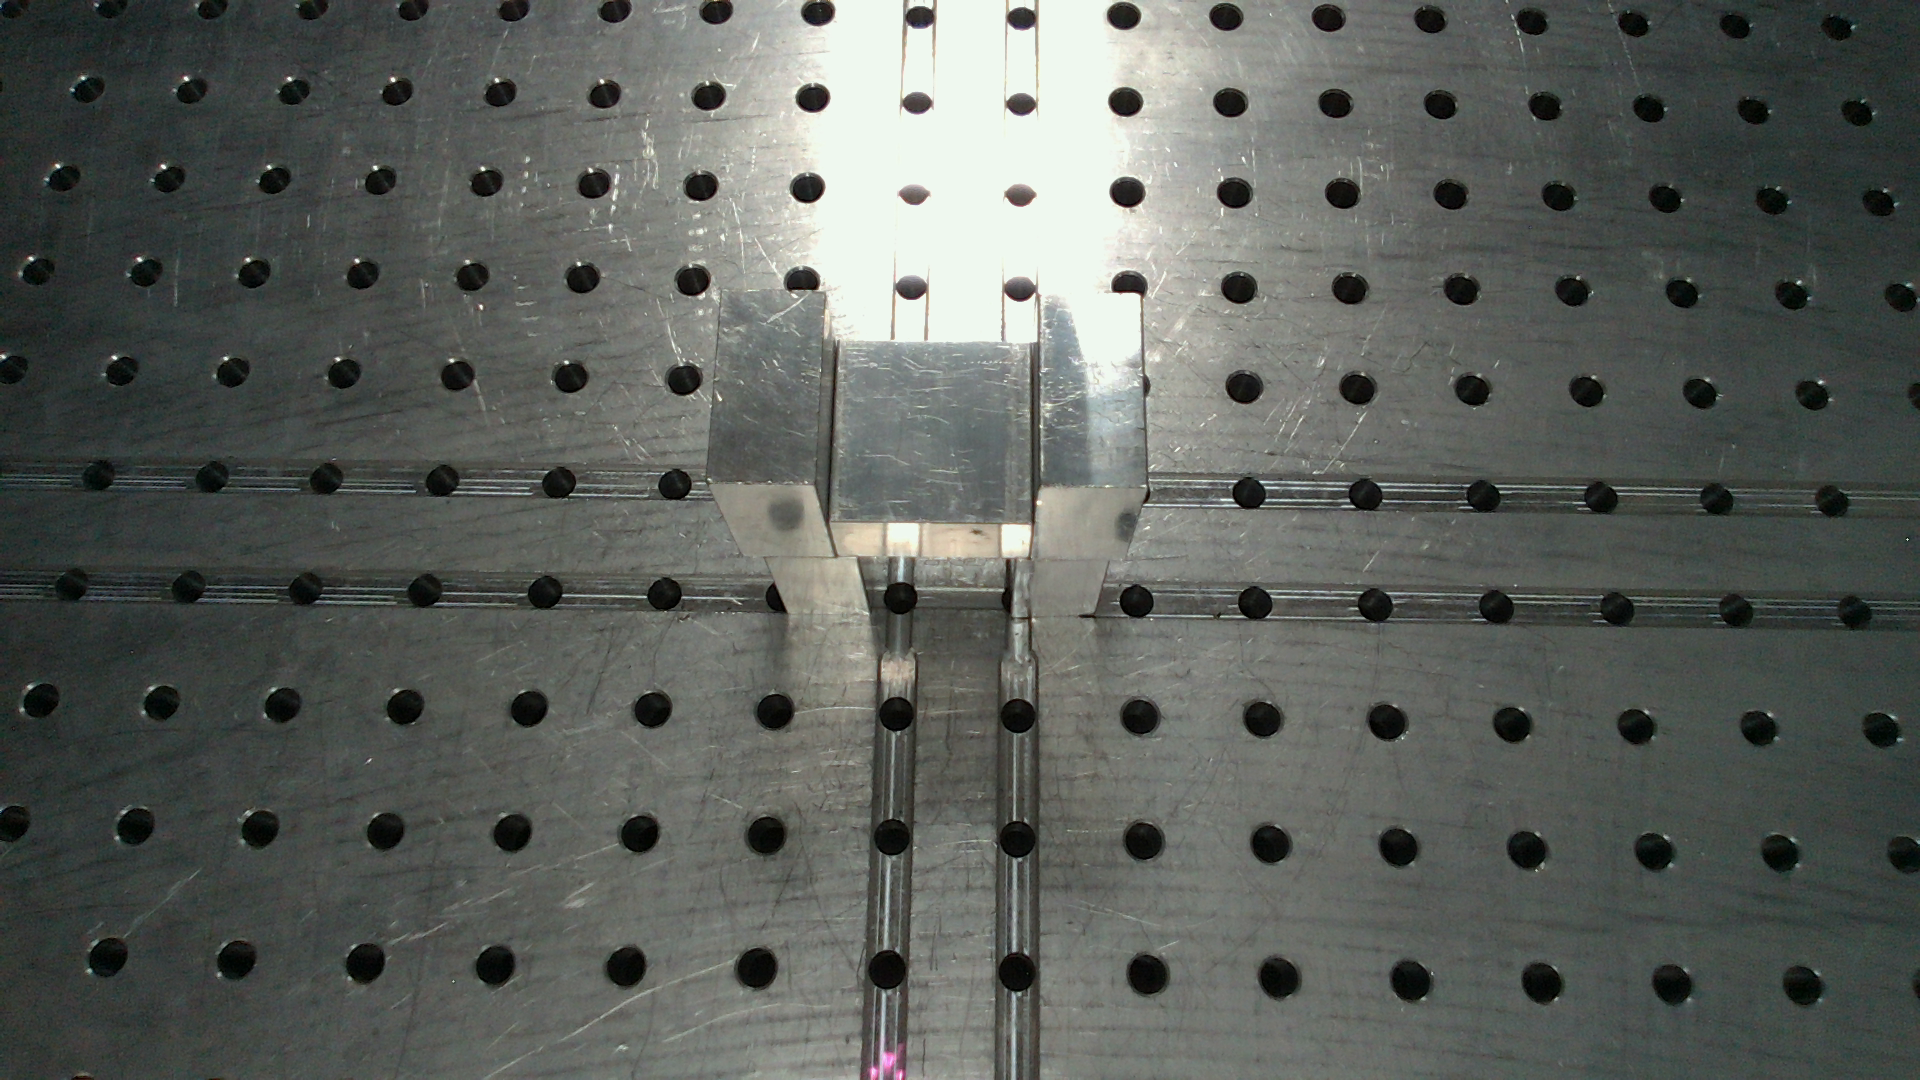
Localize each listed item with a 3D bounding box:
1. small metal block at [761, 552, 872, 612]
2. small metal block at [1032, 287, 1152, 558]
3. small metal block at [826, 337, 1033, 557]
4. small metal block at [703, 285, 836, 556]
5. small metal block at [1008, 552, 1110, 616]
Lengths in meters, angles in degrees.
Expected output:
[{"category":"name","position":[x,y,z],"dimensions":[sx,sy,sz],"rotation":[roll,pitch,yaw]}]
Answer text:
[{"category":"small metal block","position":[-0.039,-0.010,0.387],"dimensions":[0.025,0.050,0.050],"rotation":[1,70,0]},{"category":"small metal block","position":[0.031,-0.027,0.339],"dimensions":[0.025,0.050,0.050],"rotation":[0,69,1]},{"category":"small metal block","position":[-0.007,-0.024,0.353],"dimensions":[0.050,0.025,0.050],"rotation":[1,70,0]},{"category":"small metal block","position":[-0.044,-0.028,0.340],"dimensions":[0.025,0.050,0.050],"rotation":[0,69,1]},{"category":"small metal block","position":[0.026,-0.010,0.387],"dimensions":[0.025,0.050,0.050],"rotation":[-1,70,0]}]
